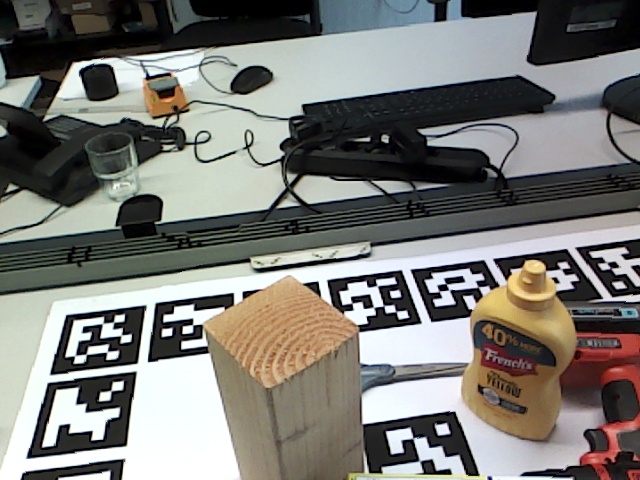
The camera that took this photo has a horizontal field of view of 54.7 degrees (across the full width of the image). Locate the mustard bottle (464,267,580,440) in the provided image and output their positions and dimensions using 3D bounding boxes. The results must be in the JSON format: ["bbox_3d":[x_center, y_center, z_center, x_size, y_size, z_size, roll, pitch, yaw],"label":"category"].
[{"bbox_3d":[0.189,0.101,0.579,0.097,0.191,0.058,28,49,34],"label":"mustard bottle"}]

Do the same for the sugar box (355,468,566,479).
[{"bbox_3d":[0.115,0.230,0.491,0.176,0.092,0.045,1,35,5],"label":"sugar box"}]

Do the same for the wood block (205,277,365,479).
[{"bbox_3d":[-0.024,0.147,0.535,0.090,0.205,0.090,-27,44,-25],"label":"wood block"}]

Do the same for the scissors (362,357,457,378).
[{"bbox_3d":[0.049,0.143,0.669,0.203,0.016,0.088,-6,34,-1],"label":"scissors"}]

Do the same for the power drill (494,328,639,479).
[{"bbox_3d":[0.246,0.171,0.576,0.185,0.057,0.187,0,45,8],"label":"power drill"}]
